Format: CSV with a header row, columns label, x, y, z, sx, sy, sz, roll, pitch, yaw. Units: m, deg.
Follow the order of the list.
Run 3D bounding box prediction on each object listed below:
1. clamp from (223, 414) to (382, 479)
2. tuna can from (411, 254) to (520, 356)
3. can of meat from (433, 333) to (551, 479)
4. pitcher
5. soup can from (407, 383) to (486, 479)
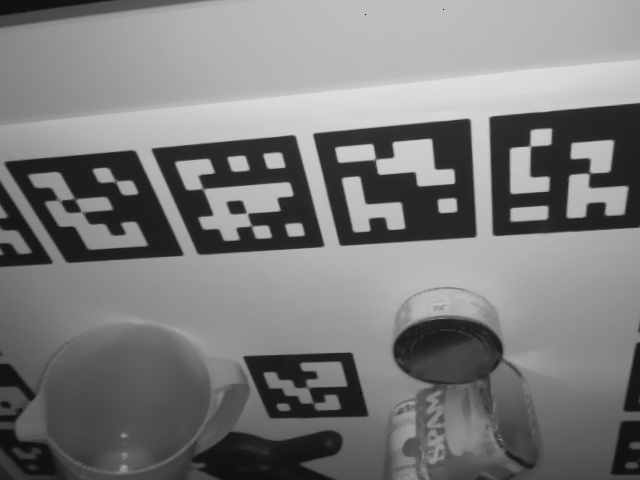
label,x,y,z,sx,sy,sz,roll,pitch,yaw
clamp,-0.023,0.221,0.732,0.164,0.037,0.121,-1,133,12
tuna can,0.118,0.053,0.566,0.085,0.034,0.085,3,127,5
can of meat,0.147,0.137,0.583,0.058,0.103,0.082,40,120,-21
pitcher,-0.161,0.183,0.637,0.191,0.133,0.239,-3,140,-19
soup can,0.115,0.191,0.636,0.068,0.103,0.067,2,127,4
